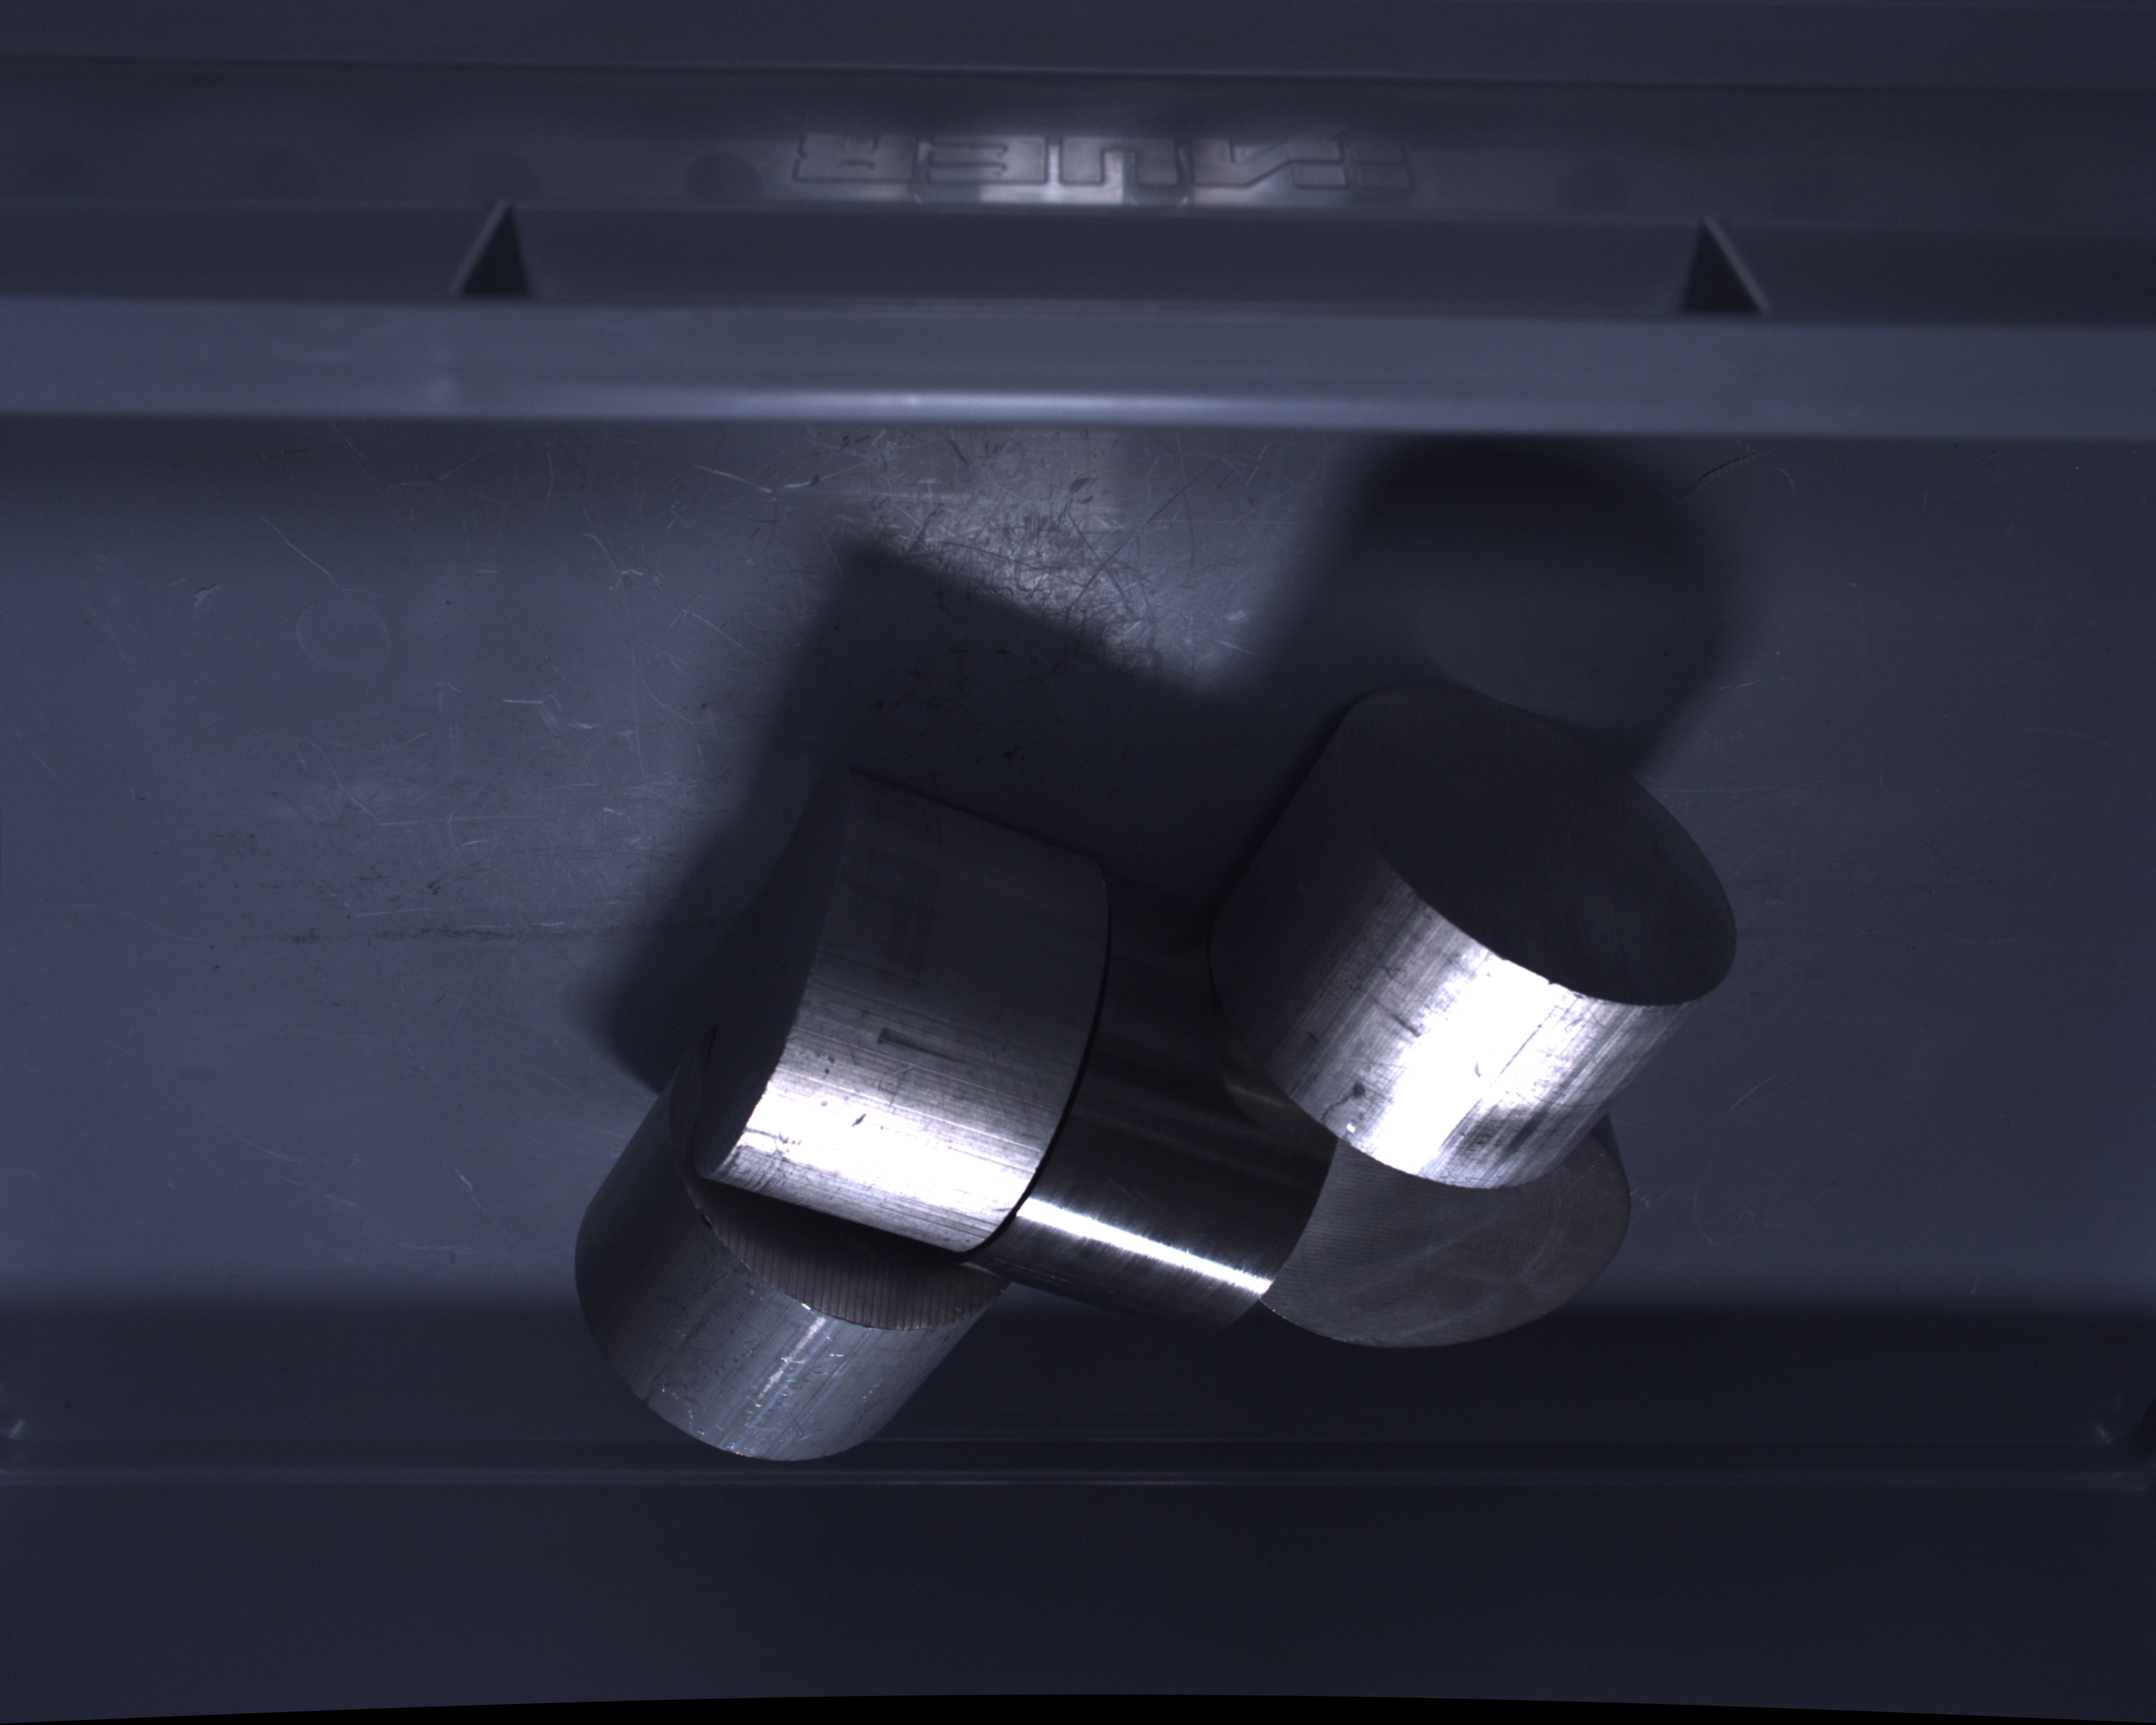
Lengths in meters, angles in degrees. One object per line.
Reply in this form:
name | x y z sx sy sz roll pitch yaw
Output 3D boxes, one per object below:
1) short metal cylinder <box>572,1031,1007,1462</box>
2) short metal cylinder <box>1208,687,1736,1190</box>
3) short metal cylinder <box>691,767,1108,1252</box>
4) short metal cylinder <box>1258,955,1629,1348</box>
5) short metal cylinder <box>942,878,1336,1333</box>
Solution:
short metal cylinder | -0.058 0.076 0.435 0.080 0.080 0.050 23 126 -19
short metal cylinder | 0.071 0.013 0.383 0.081 0.080 0.050 18 128 -15
short metal cylinder | -0.035 0.028 0.394 0.050 0.080 0.079 20 127 -17
short metal cylinder | 0.071 0.058 0.440 0.081 0.050 0.079 0 130 0
short metal cylinder | 0.011 0.047 0.412 0.050 0.080 0.079 21 127 -17
